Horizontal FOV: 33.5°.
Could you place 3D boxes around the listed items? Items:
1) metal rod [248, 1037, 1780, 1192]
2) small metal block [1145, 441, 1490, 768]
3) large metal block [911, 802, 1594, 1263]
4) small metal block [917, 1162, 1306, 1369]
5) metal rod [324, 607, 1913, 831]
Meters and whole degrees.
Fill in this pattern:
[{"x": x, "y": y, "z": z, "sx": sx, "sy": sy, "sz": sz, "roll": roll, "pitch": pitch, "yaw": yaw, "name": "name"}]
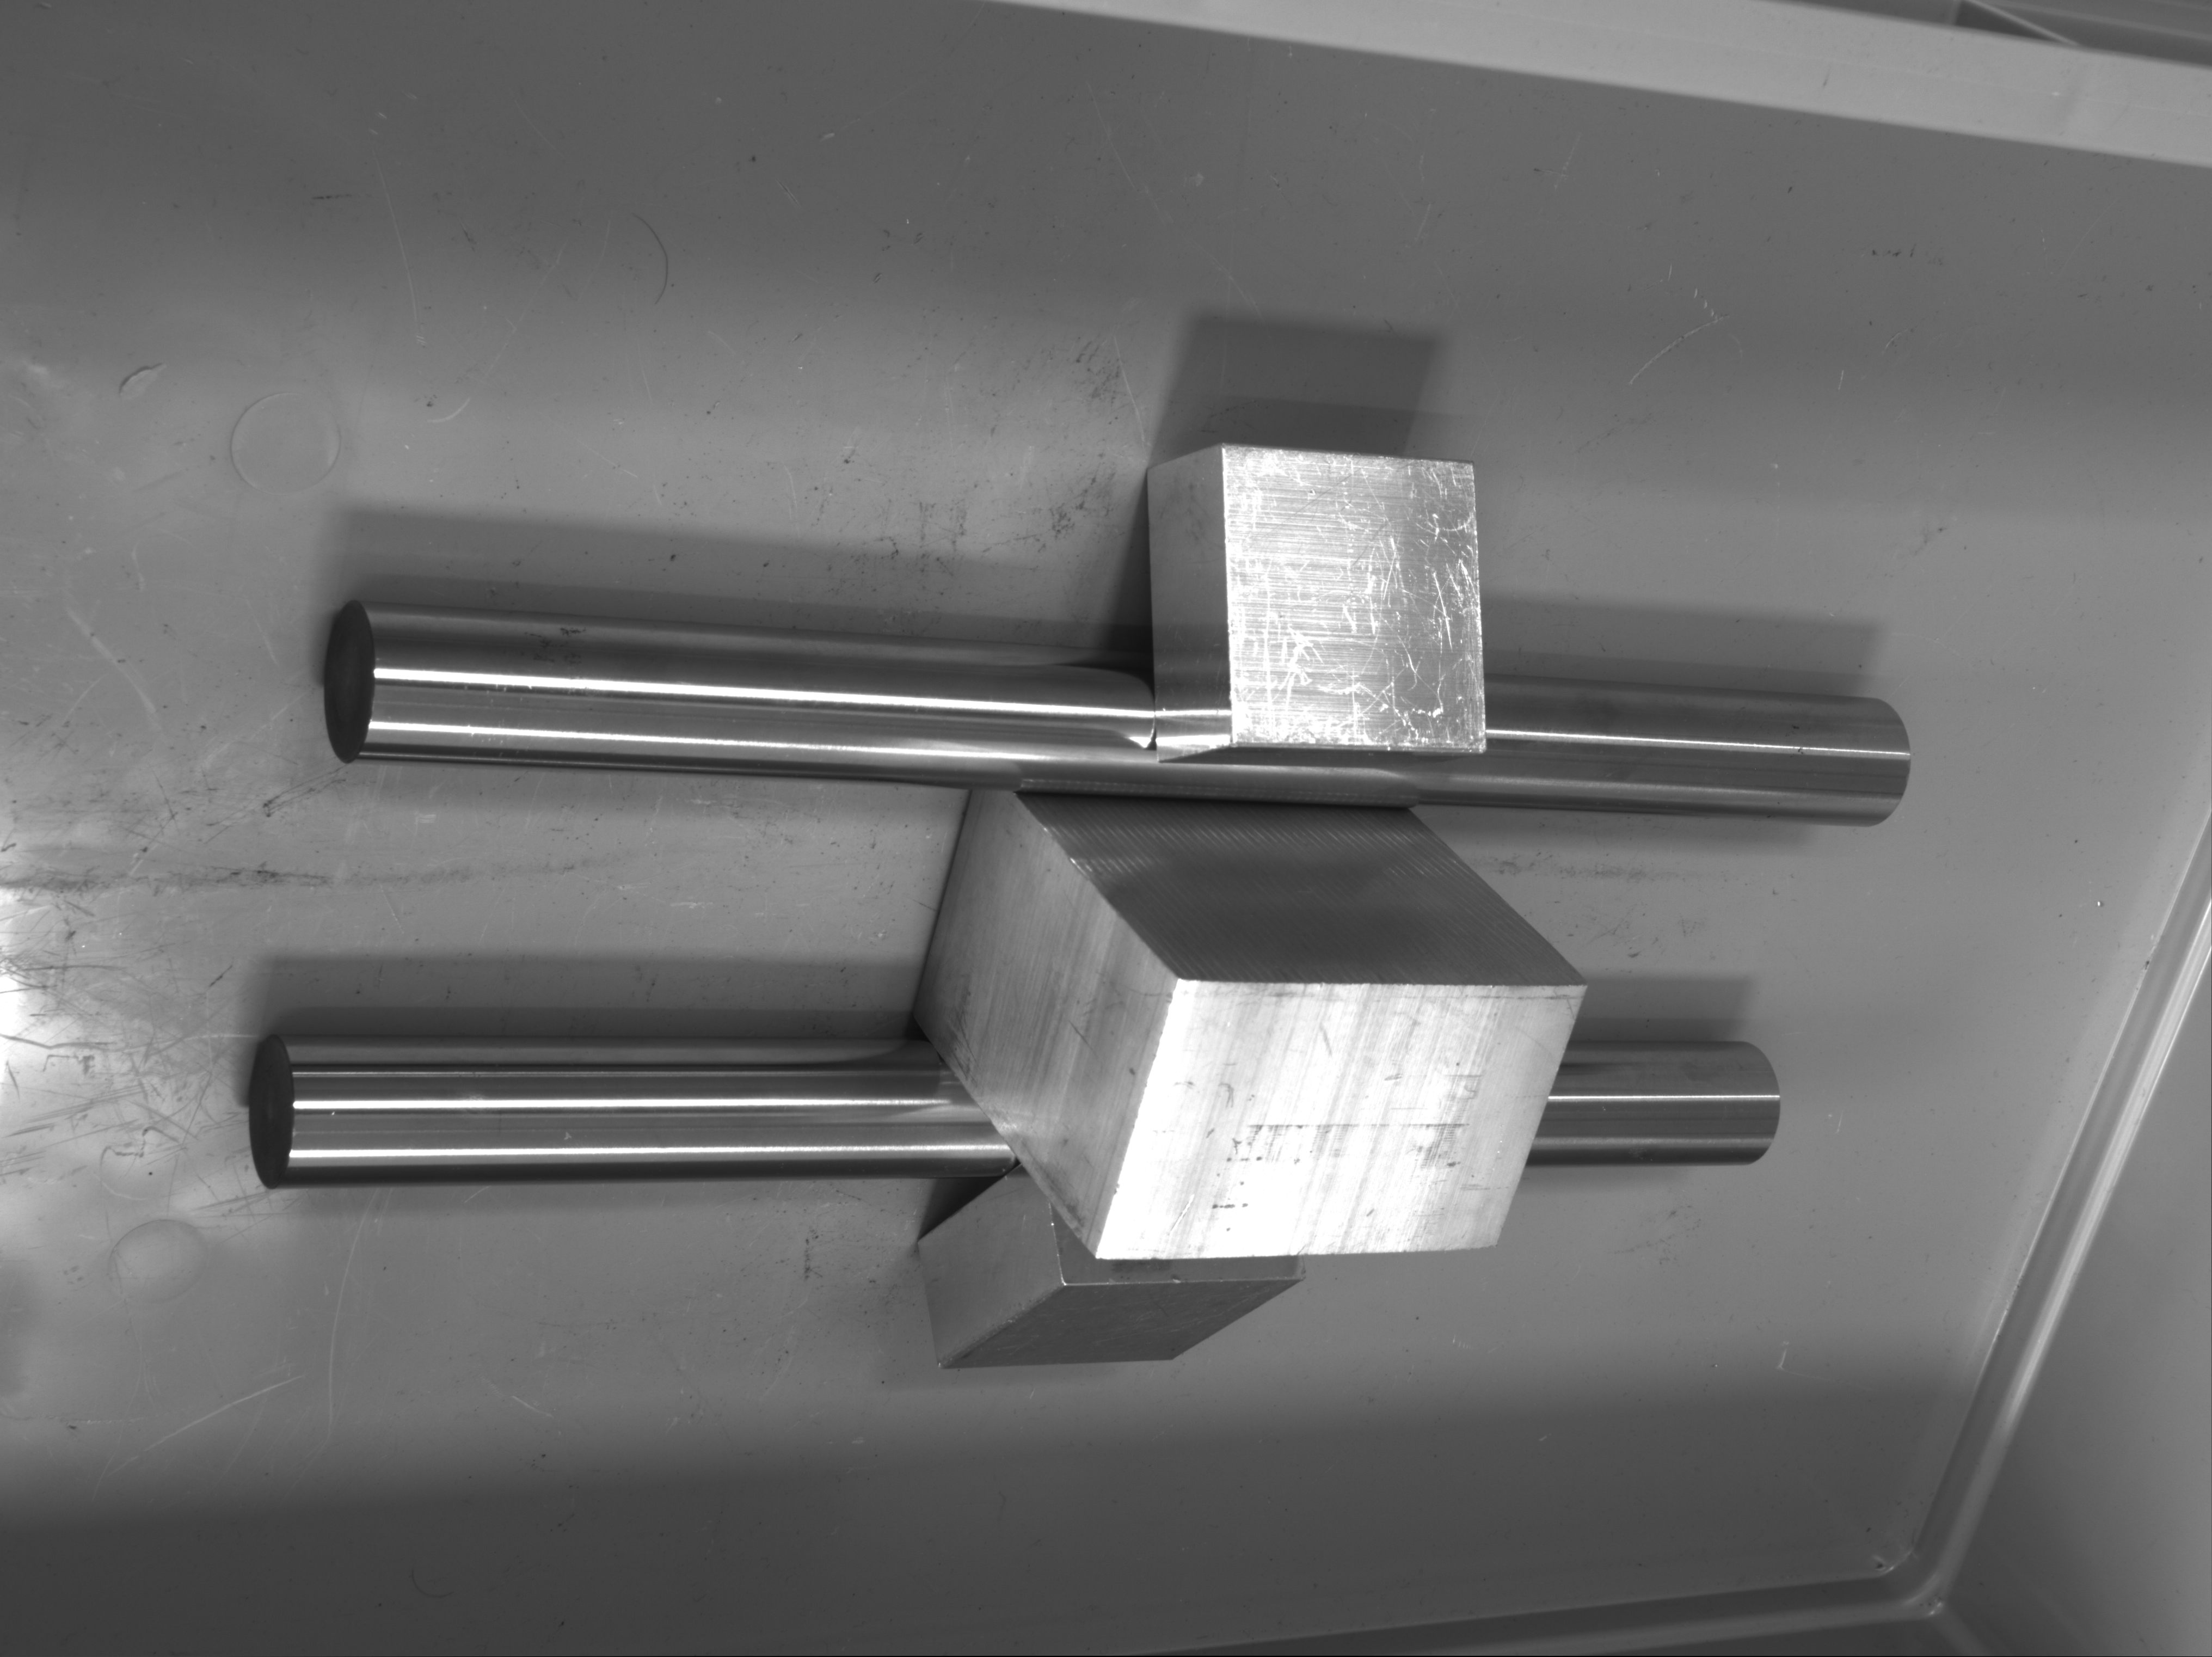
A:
[{"x": -0.004, "y": 0.051, "z": 0.665, "sx": 0.301, "sy": 0.025, "sz": 0.025, "roll": 2, "pitch": 117, "yaw": -29, "name": "metal rod"}, {"x": 0.036, "y": -0.036, "z": 0.618, "sx": 0.050, "sy": 0.025, "sz": 0.050, "roll": 1, "pitch": 83, "yaw": -29, "name": "small metal block"}, {"x": 0.023, "y": 0.030, "z": 0.630, "sx": 0.080, "sy": 0.080, "sz": 0.050, "roll": 2, "pitch": 117, "yaw": -29, "name": "large metal block"}, {"x": 0.000, "y": 0.078, "z": 0.668, "sx": 0.050, "sy": 0.025, "sz": 0.050, "roll": 3, "pitch": 154, "yaw": -30, "name": "small metal block"}, {"x": 0.016, "y": -0.017, "z": 0.634, "sx": 0.301, "sy": 0.025, "sz": 0.025, "roll": 2, "pitch": 117, "yaw": -29, "name": "metal rod"}]
